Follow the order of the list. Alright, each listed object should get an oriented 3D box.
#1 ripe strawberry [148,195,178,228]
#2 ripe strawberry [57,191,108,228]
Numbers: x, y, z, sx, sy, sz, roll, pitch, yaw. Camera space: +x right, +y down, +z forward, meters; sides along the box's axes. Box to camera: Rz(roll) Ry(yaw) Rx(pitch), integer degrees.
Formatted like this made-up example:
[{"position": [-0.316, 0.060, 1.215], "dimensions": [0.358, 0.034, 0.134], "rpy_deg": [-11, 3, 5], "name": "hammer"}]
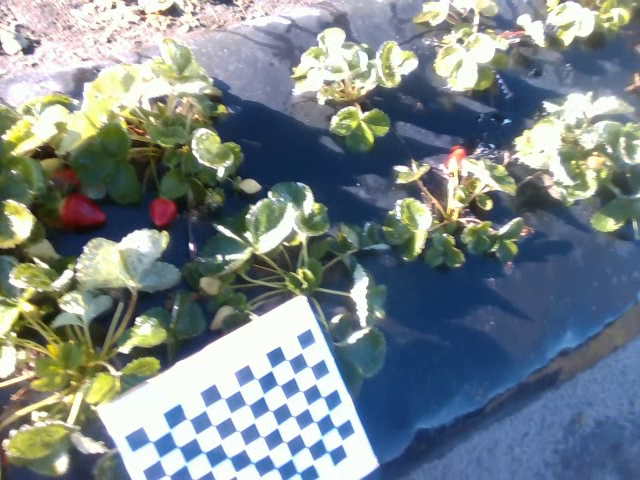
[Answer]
[{"position": [-0.205, -0.037, 0.740], "dimensions": [0.039, 0.047, 0.040], "rpy_deg": [14, -24, -21], "name": "ripe strawberry"}, {"position": [-0.296, -0.037, 0.715], "dimensions": [0.056, 0.044, 0.040], "rpy_deg": [26, -17, -18], "name": "ripe strawberry"}]
